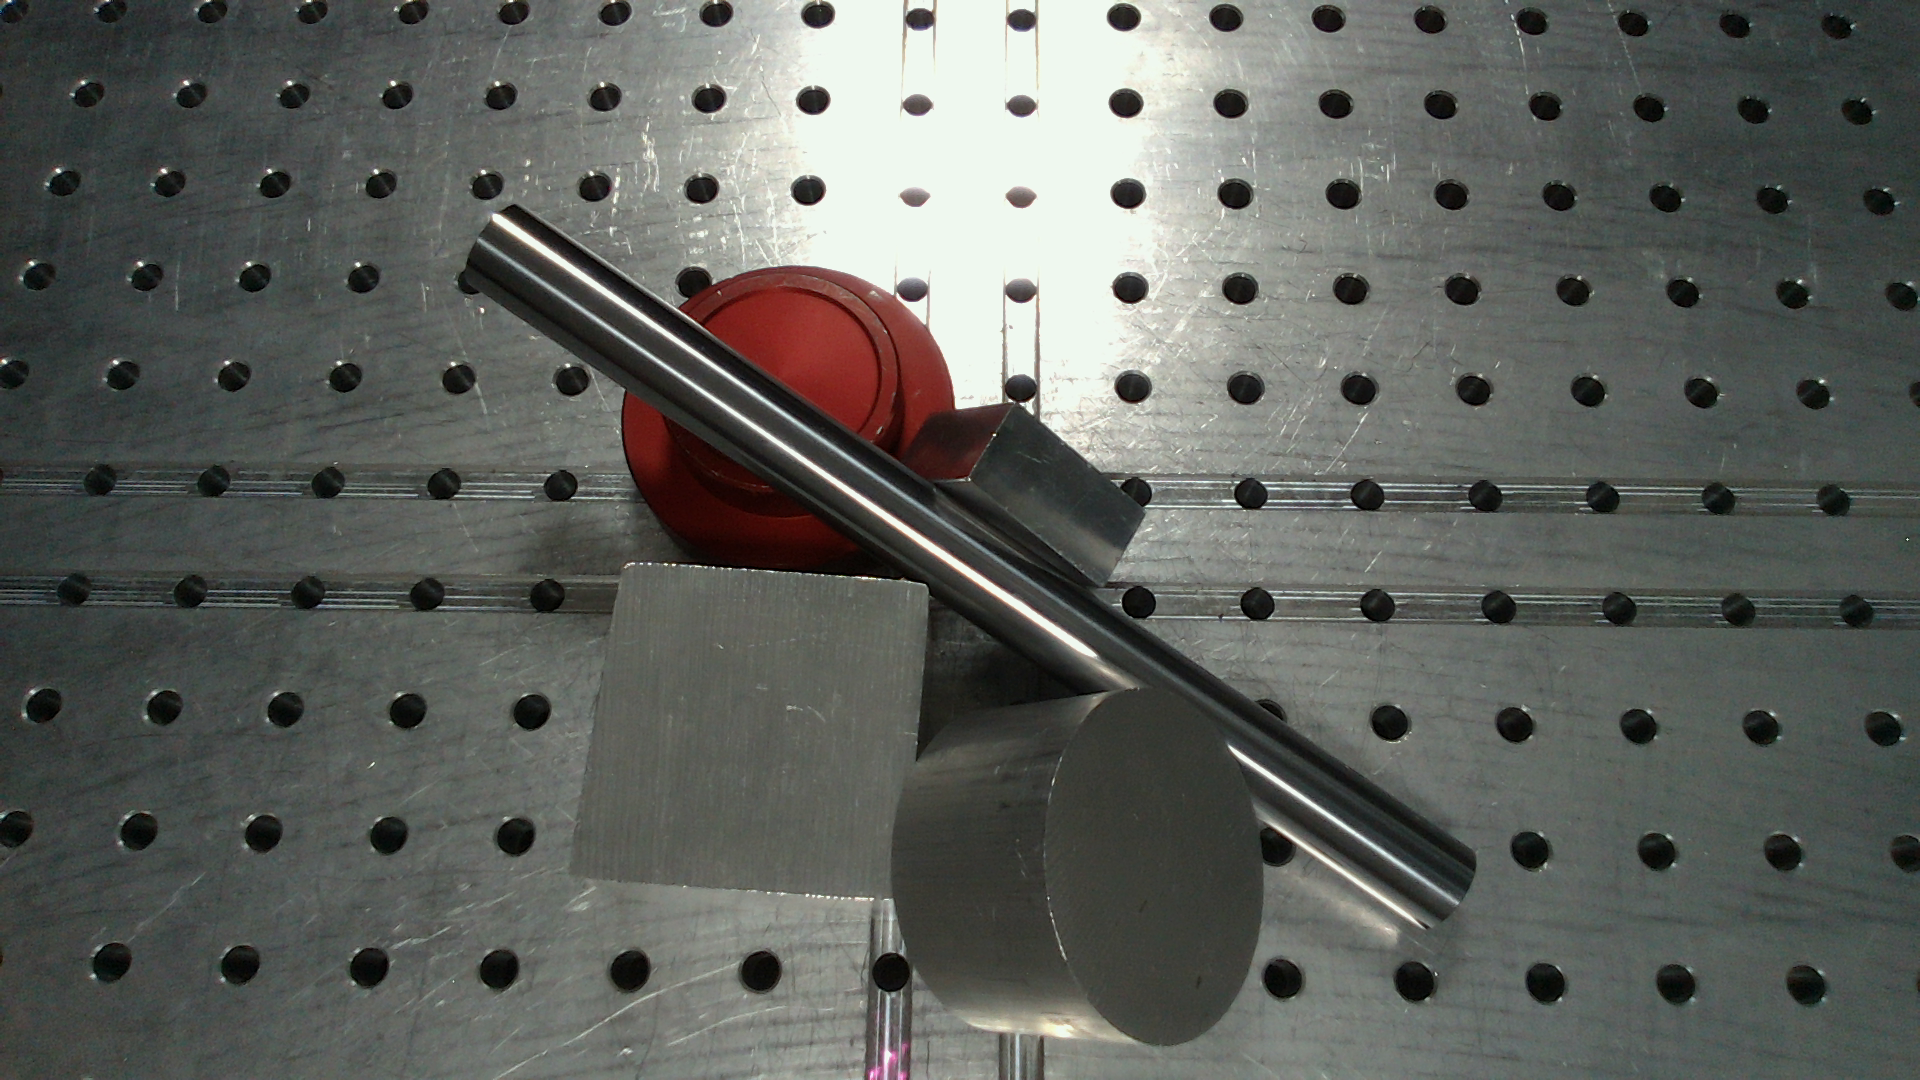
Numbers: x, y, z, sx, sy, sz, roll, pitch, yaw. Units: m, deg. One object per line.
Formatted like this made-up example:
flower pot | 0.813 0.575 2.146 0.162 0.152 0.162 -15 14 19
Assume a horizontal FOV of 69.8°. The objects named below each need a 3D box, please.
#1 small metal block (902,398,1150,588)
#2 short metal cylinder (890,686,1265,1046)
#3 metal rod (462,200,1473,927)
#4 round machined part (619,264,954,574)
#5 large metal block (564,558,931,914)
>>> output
small metal block | 0.015 -0.012 0.378 0.050 0.050 0.025 38 75 -23
short metal cylinder | 0.030 0.078 0.332 0.080 0.050 0.080 15 69 -43
metal rod | 0.004 0.007 0.360 0.300 0.025 0.025 34 73 -2
round machined part | -0.051 -0.038 0.402 0.098 0.042 0.098 0 70 0
large metal block | -0.050 0.054 0.362 0.080 0.050 0.080 4 70 2
